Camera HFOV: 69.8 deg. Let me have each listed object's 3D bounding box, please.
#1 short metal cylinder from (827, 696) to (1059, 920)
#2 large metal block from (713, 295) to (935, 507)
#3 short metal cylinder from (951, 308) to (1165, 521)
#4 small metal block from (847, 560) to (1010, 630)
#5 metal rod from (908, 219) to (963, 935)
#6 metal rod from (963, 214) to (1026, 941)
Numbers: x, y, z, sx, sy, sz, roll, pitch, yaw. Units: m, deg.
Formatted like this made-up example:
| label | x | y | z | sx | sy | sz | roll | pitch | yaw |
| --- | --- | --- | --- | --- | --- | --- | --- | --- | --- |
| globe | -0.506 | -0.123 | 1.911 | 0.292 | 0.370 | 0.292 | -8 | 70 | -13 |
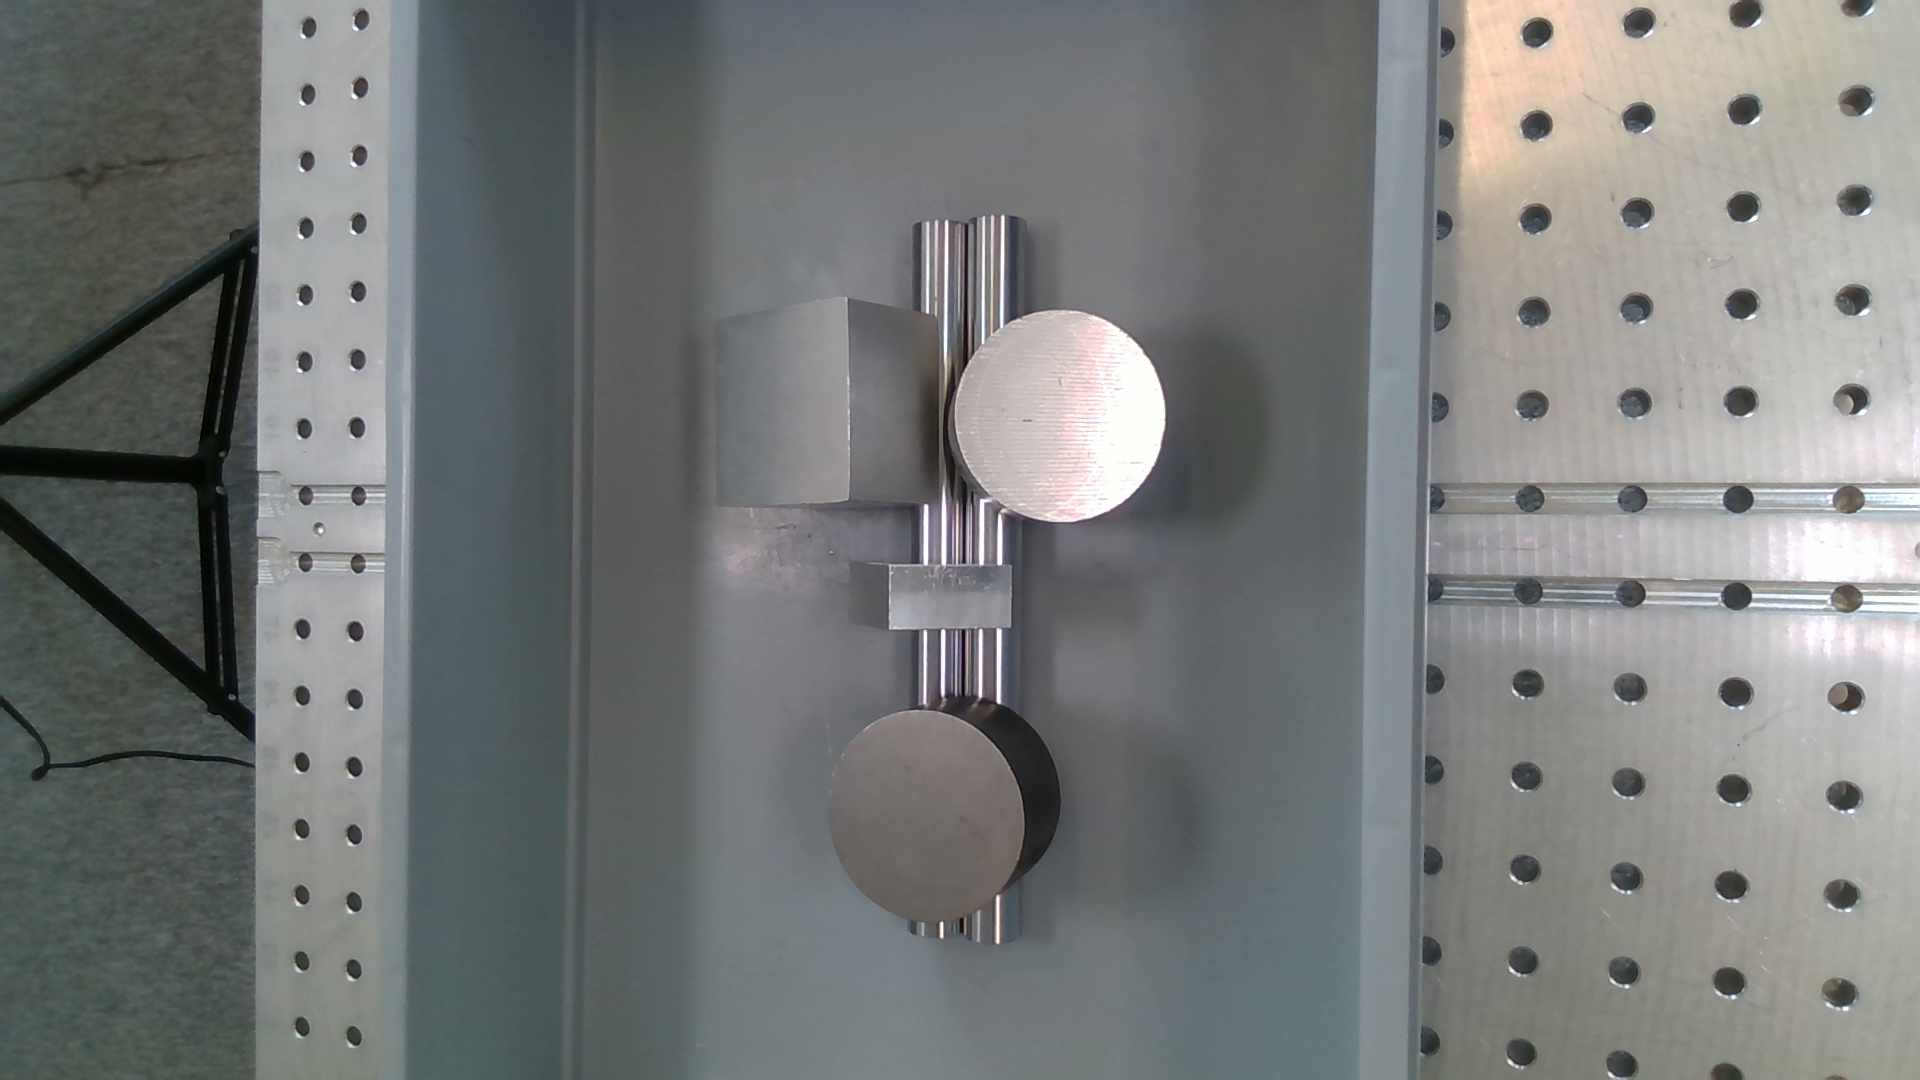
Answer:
| label | x | y | z | sx | sy | sz | roll | pitch | yaw |
| --- | --- | --- | --- | --- | --- | --- | --- | --- | --- |
| short metal cylinder | -0.006 | 0.105 | 0.548 | 0.080 | 0.050 | 0.080 | 0 | 91 | 20 |
| large metal block | -0.058 | -0.055 | 0.578 | 0.080 | 0.050 | 0.080 | -1 | 90 | 40 |
| short metal cylinder | 0.036 | -0.047 | 0.542 | 0.080 | 0.050 | 0.080 | 0 | 91 | -4 |
| small metal block | -0.013 | 0.021 | 0.547 | 0.050 | 0.050 | 0.025 | 0 | 91 | -22 |
| metal rod | -0.009 | 0.016 | 0.589 | 0.025 | 0.025 | 0.300 | 1 | 91 | 20 |
| metal rod | 0.014 | 0.016 | 0.580 | 0.025 | 0.025 | 0.300 | 1 | 91 | 20 |
